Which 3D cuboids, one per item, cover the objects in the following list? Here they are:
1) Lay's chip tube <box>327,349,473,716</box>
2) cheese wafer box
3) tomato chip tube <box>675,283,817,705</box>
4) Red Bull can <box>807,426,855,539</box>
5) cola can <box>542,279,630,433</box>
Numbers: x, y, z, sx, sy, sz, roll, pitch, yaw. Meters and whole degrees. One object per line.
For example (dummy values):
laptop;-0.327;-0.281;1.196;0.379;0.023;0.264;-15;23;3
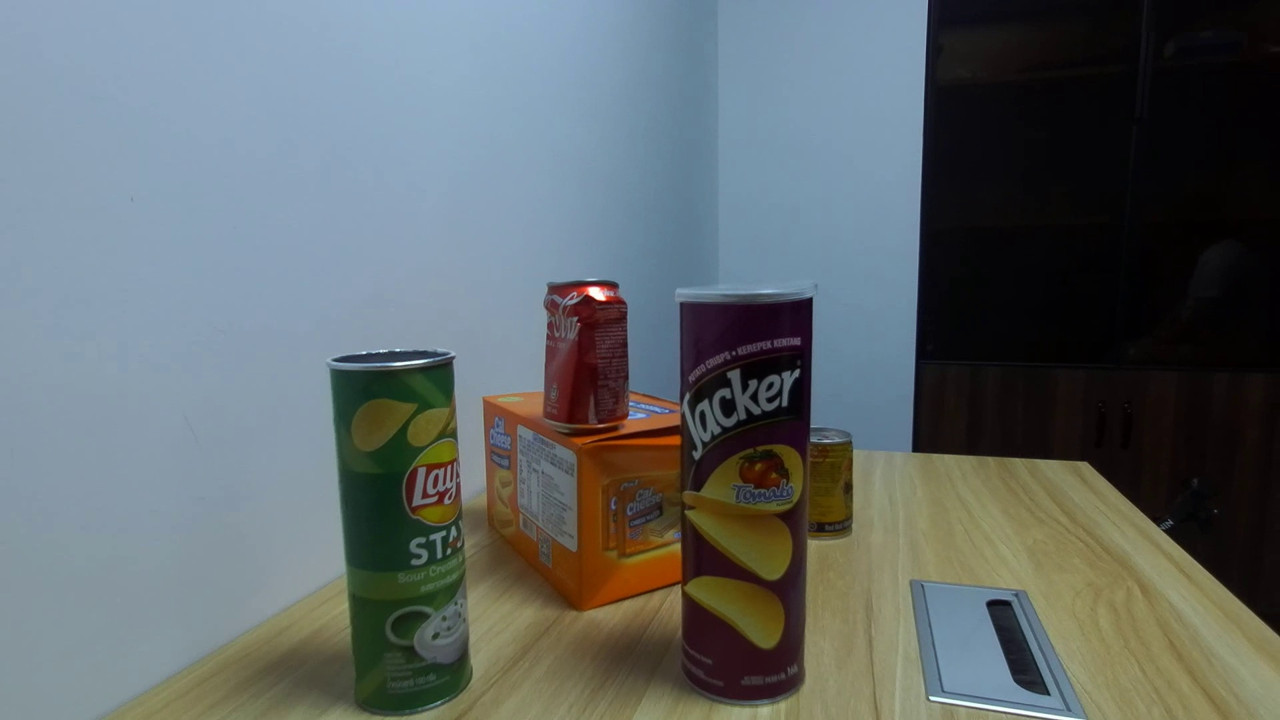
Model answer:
Lay's chip tube;-0.139;0.097;0.416;0.071;0.202;0.071;-1;8;0
cheese wafer box;-0.034;0.102;0.630;0.150;0.137;0.226;-4;7;-30
tomato chip tube;0.062;0.076;0.419;0.078;0.233;0.078;-1;8;0
Red Bull can;0.169;0.114;0.665;0.069;0.092;0.069;0;8;0
cola can;-0.041;-0.004;0.530;0.066;0.112;0.069;-3;9;-10
